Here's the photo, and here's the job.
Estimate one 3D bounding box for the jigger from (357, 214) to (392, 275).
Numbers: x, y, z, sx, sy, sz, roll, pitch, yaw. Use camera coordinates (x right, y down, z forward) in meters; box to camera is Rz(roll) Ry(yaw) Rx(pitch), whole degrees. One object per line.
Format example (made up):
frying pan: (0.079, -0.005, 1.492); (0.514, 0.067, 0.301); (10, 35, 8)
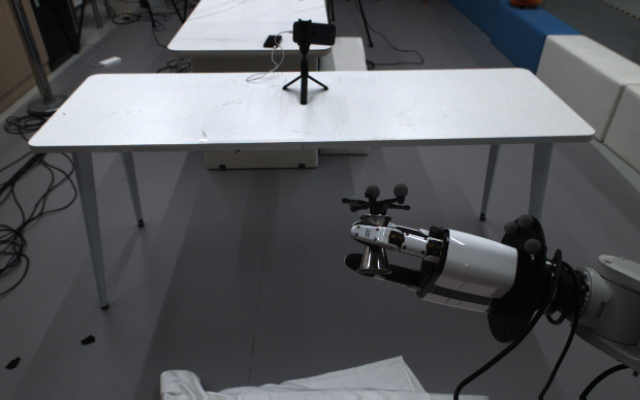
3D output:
jigger: (0.067, 0.054, 0.601); (0.043, 0.043, 0.071); (3, 75, 1)
